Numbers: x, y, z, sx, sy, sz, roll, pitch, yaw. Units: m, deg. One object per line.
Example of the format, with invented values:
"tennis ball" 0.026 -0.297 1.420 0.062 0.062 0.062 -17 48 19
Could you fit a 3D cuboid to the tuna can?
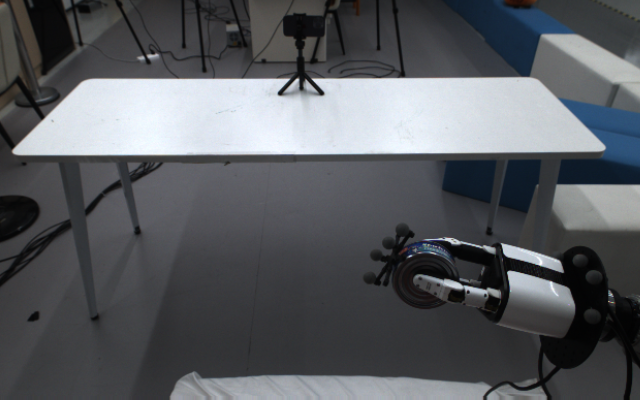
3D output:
"tuna can" 0.139 0.094 0.630 0.085 0.085 0.034 3 20 1
